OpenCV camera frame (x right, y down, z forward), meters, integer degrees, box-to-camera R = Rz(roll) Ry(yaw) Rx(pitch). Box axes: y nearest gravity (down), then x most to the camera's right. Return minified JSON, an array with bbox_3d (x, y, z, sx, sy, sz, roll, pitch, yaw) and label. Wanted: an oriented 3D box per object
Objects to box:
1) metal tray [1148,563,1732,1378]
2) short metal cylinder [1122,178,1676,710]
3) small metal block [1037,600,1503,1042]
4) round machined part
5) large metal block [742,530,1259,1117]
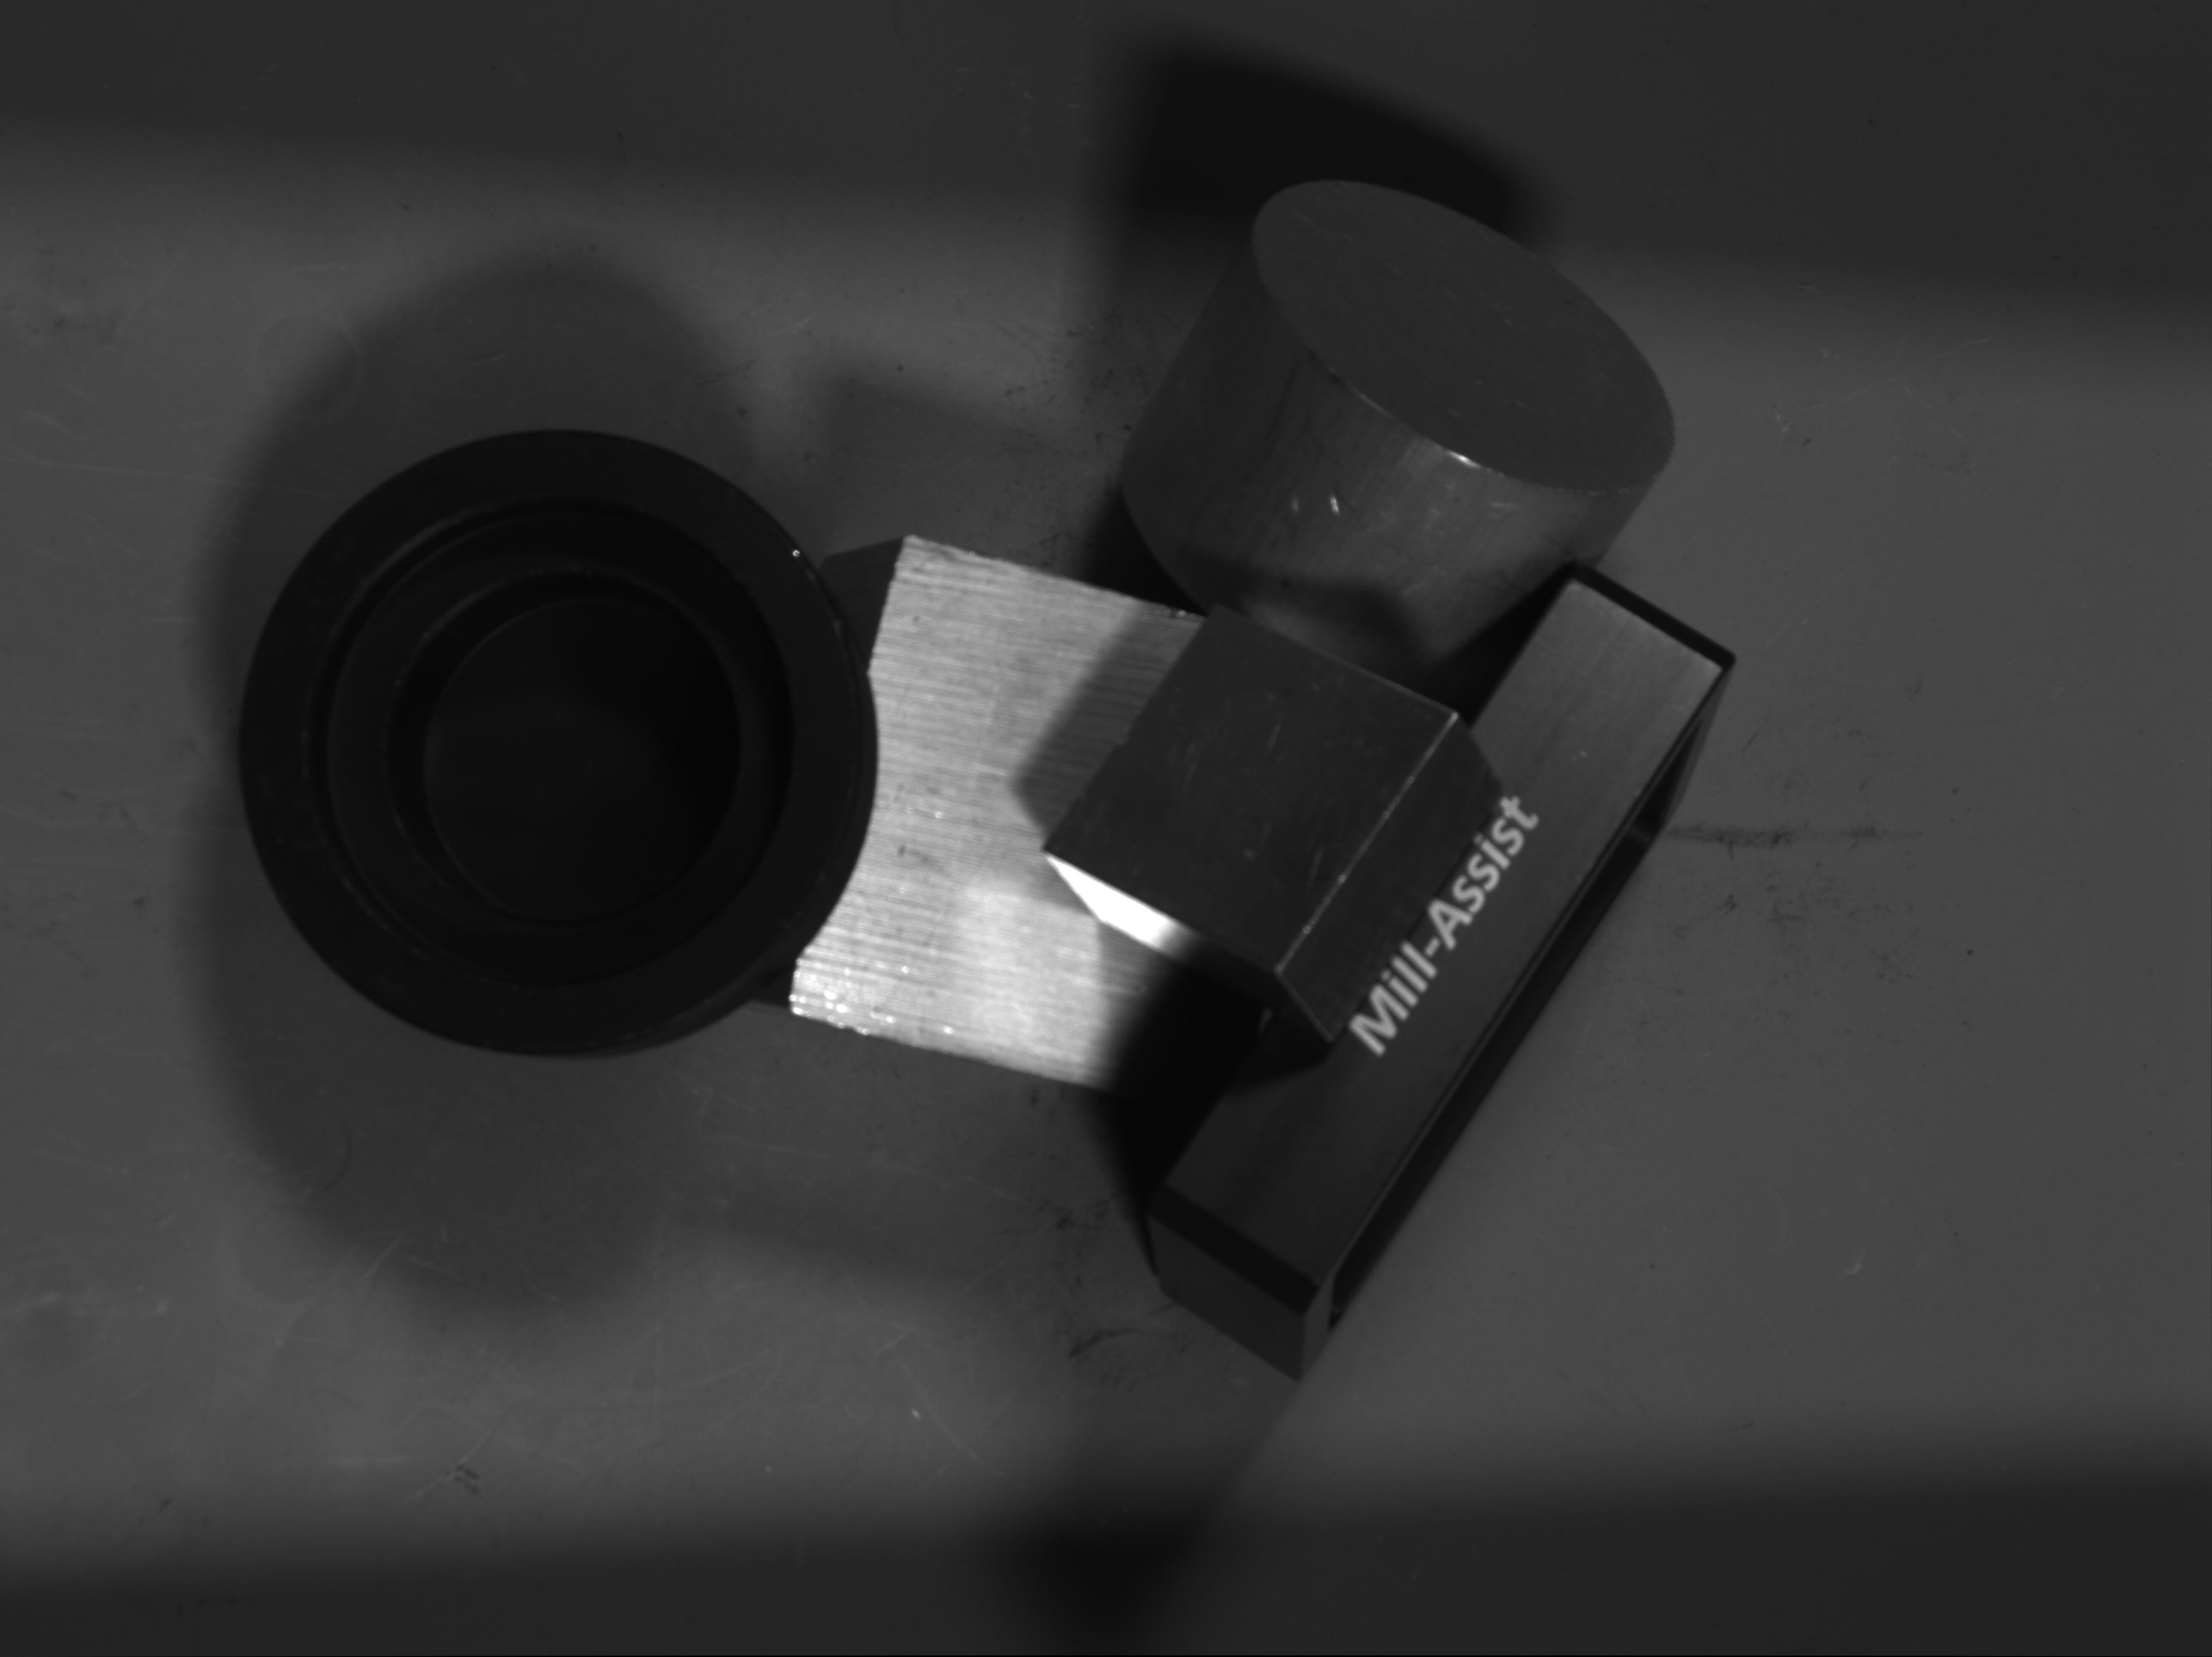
[{"bbox_3d":[0.056,0.027,0.627,0.030,0.090,0.130,32,78,11],"label":"metal tray"},{"bbox_3d":[0.050,-0.066,0.624,0.080,0.080,0.050,17,128,-19],"label":"short metal cylinder"},{"bbox_3d":[0.026,-0.002,0.584,0.050,0.050,0.025,-54,144,-12],"label":"small metal block"},{"bbox_3d":[-0.085,-0.012,0.590,0.098,0.042,0.098,0,85,3],"label":"round machined part"},{"bbox_3d":[-0.014,0.001,0.624,0.080,0.050,0.080,16,85,-19],"label":"large metal block"}]
